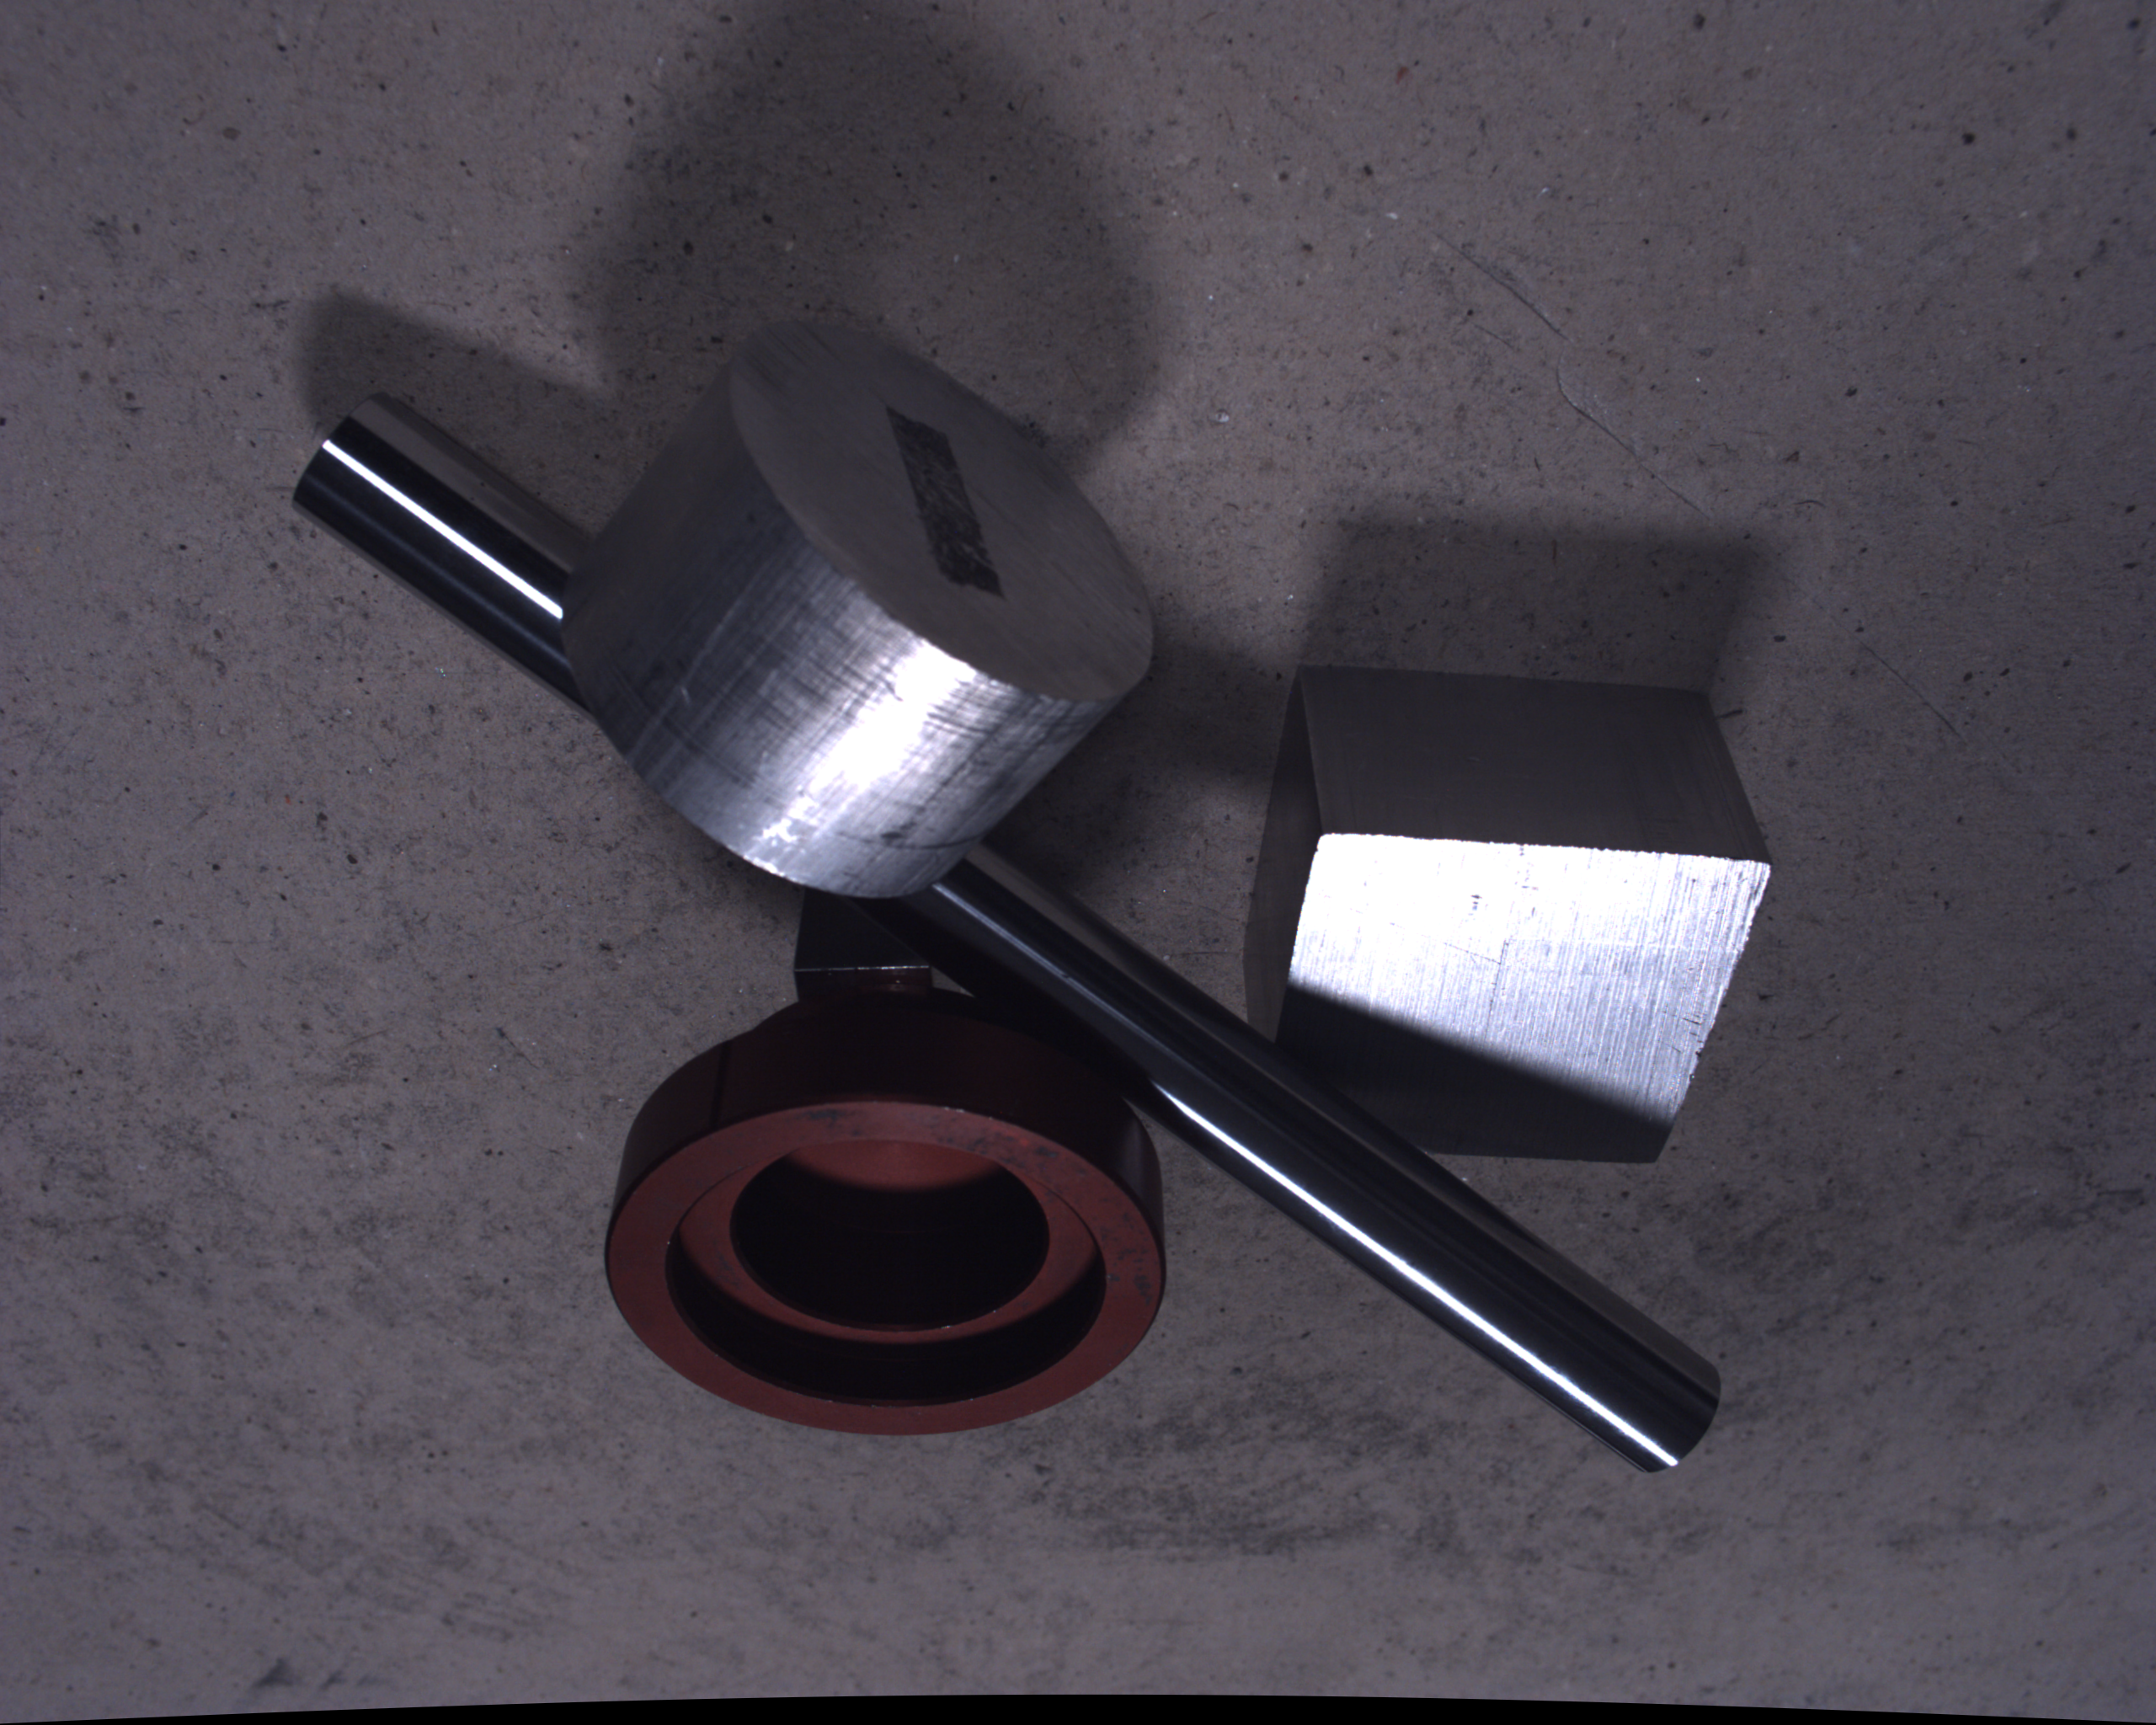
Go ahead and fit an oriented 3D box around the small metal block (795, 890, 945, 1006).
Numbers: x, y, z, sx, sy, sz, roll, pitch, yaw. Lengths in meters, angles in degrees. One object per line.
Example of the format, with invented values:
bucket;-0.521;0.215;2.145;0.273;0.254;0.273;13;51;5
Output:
small metal block;-0.038;0.022;0.411;0.025;0.050;0.050;-2;130;1

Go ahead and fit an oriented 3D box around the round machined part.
round machined part;-0.034;0.060;0.384;0.099;0.042;0.097;-1;132;0

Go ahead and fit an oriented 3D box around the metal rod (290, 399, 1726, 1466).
metal rod;-0.004;0.019;0.376;0.301;0.025;0.025;36;122;-10

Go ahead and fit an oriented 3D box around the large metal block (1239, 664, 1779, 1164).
large metal block;0.078;0.011;0.403;0.081;0.050;0.079;3;130;-4

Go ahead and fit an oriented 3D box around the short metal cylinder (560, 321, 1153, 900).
short metal cylinder;-0.035;-0.041;0.337;0.080;0.080;0.050;30;124;-24
